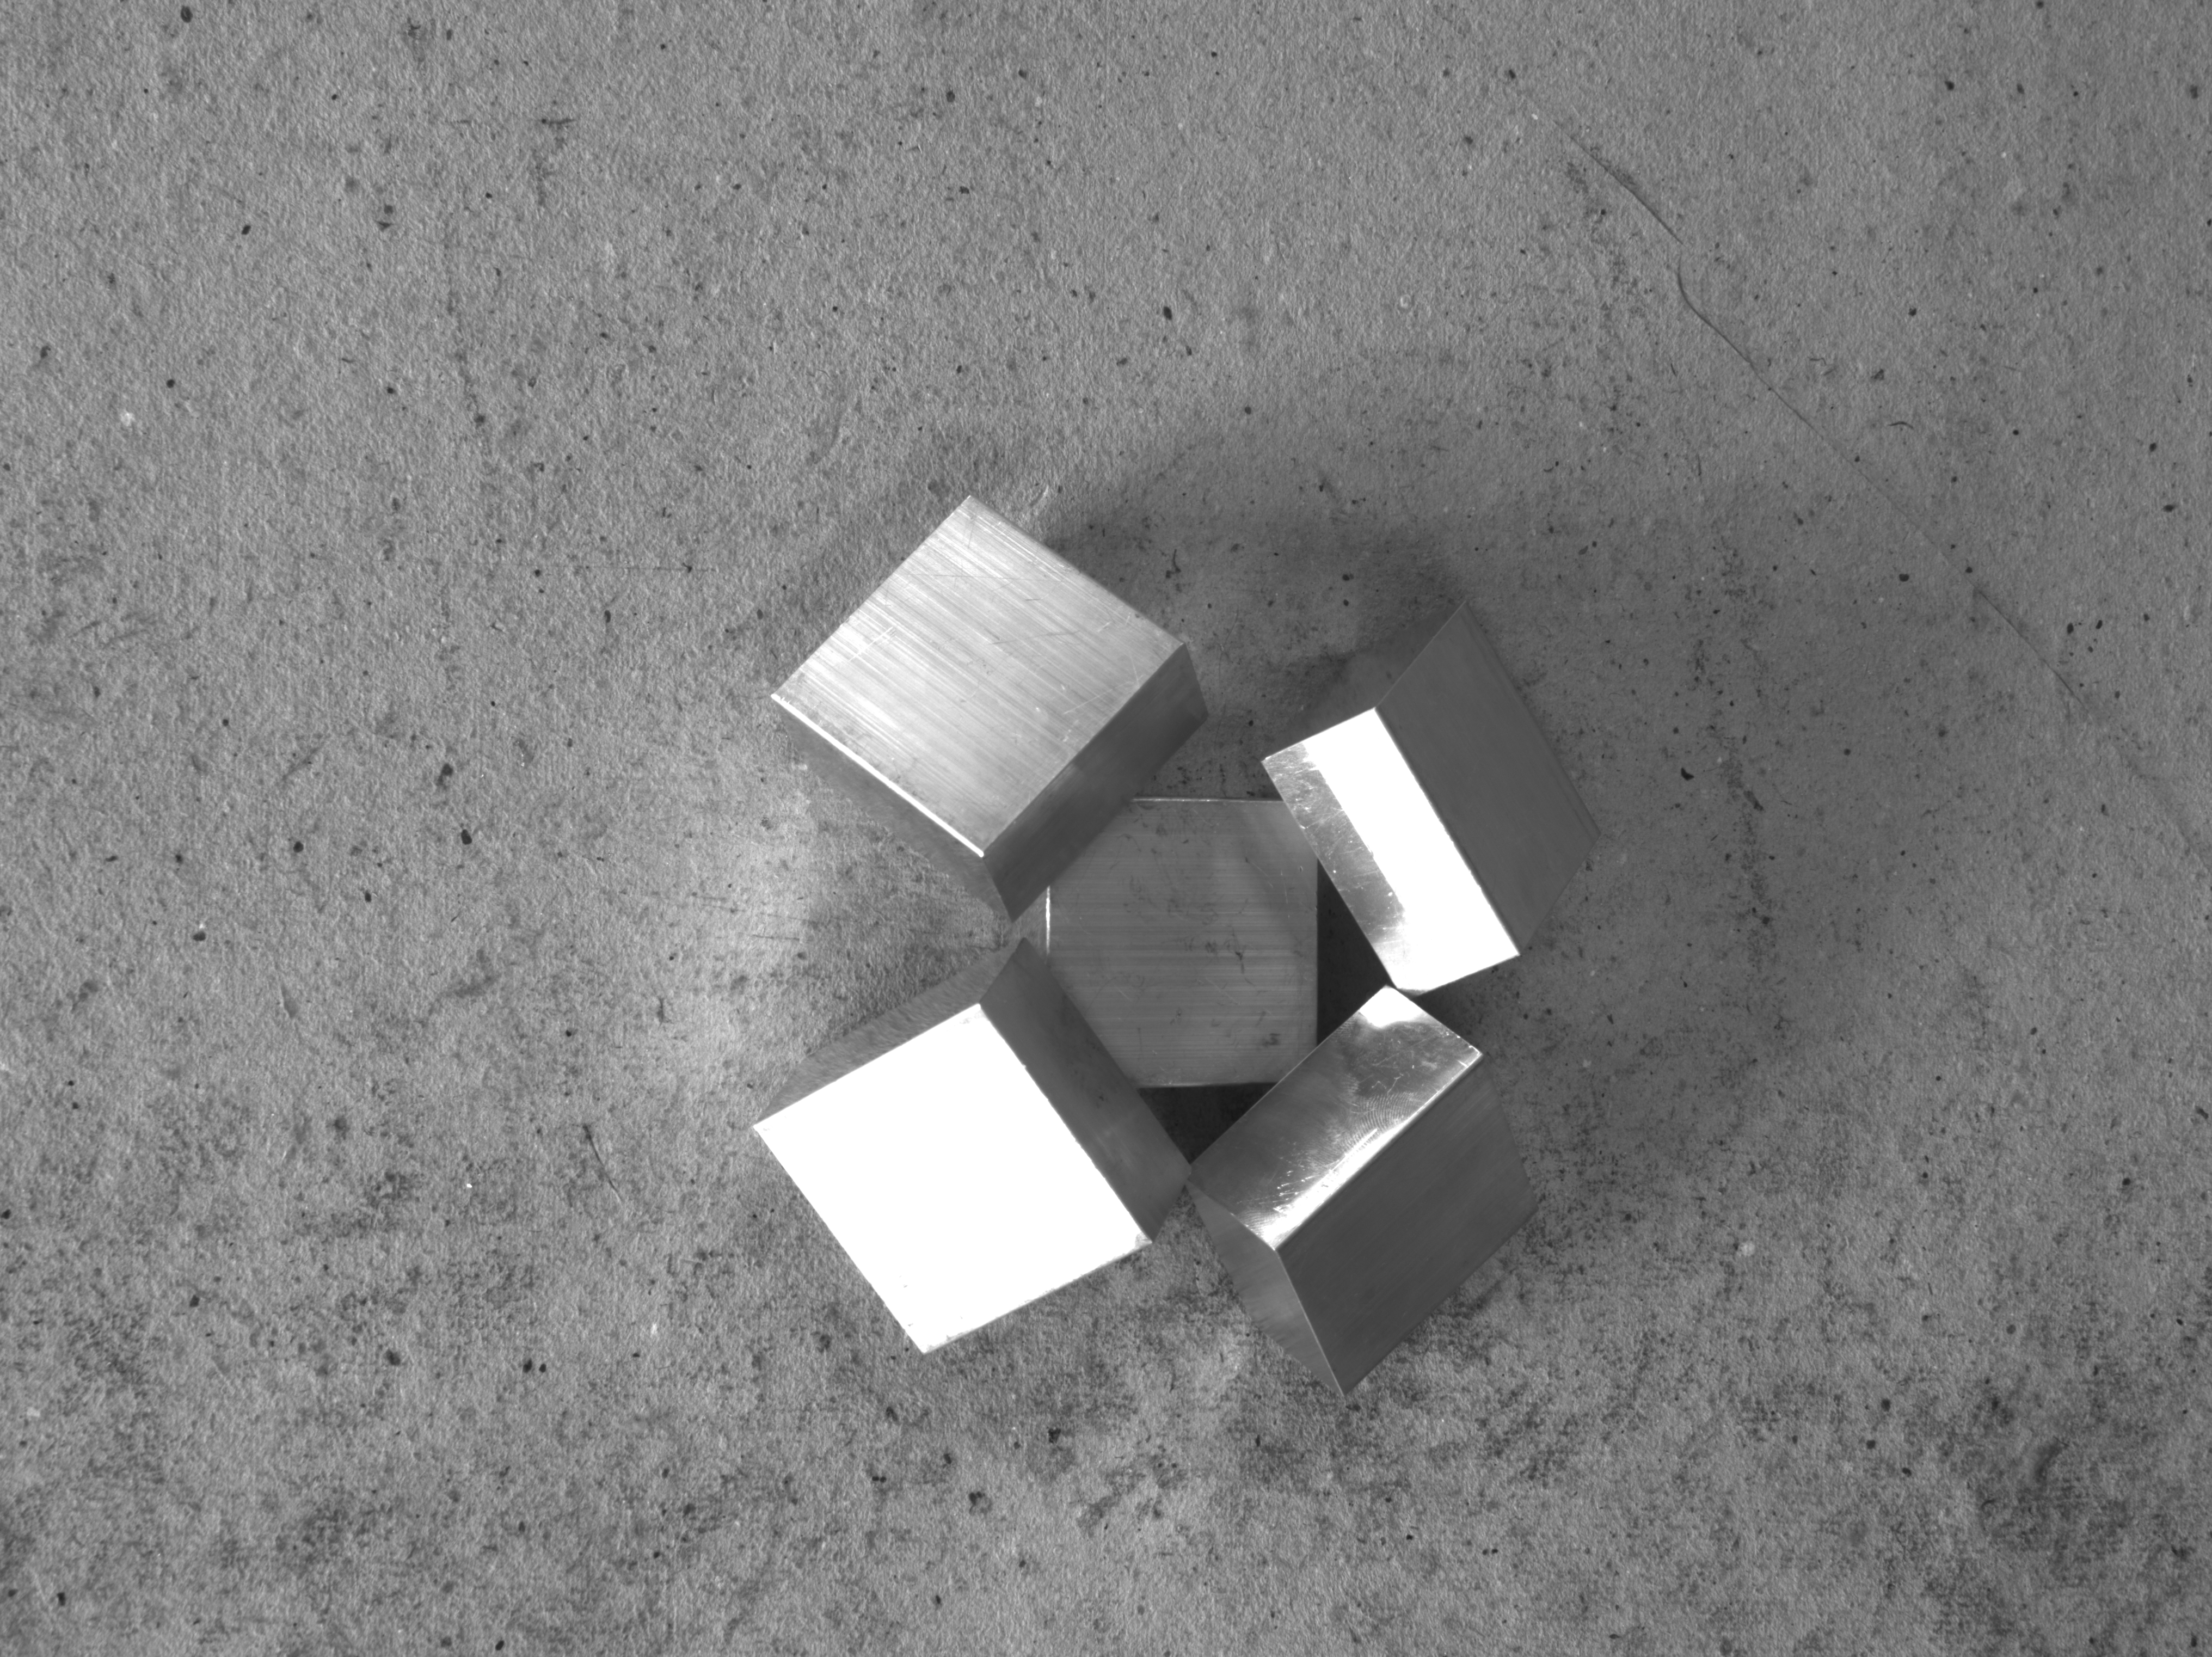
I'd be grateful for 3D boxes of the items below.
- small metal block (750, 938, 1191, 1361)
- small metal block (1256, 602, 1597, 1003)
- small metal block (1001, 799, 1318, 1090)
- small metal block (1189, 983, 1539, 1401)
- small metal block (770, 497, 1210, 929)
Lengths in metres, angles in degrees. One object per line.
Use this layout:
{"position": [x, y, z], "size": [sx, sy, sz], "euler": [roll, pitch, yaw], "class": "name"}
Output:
{"position": [-0.023, 0.054, 0.621], "size": [0.050, 0.025, 0.050], "euler": [-30, 103, 27], "class": "small metal block"}
{"position": [0.058, -0.005, 0.652], "size": [0.050, 0.025, 0.050], "euler": [59, 32, -11], "class": "small metal block"}
{"position": [0.009, 0.020, 0.647], "size": [0.050, 0.025, 0.050], "euler": [0, 90, -21], "class": "small metal block"}
{"position": [0.045, 0.064, 0.647], "size": [0.050, 0.025, 0.050], "euler": [-42, 141, -15], "class": "small metal block"}
{"position": [-0.019, -0.020, 0.623], "size": [0.050, 0.025, 0.050], "euler": [36, 74, 26], "class": "small metal block"}
